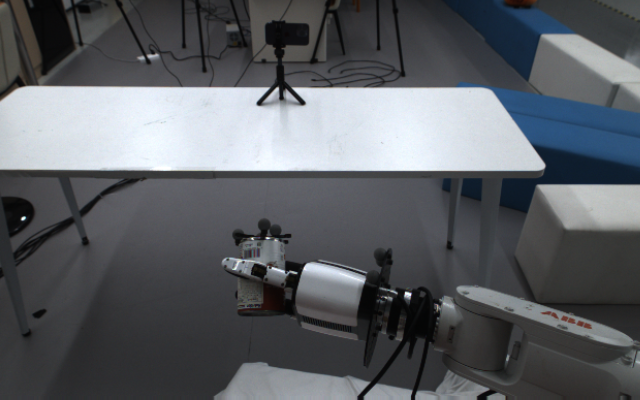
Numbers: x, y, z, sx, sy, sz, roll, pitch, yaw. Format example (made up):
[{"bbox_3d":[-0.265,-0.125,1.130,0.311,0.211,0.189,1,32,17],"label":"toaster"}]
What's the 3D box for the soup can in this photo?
[{"bbox_3d":[-0.078,0.108,0.672,0.067,0.067,0.101,-1,71,-5],"label":"soup can"}]
